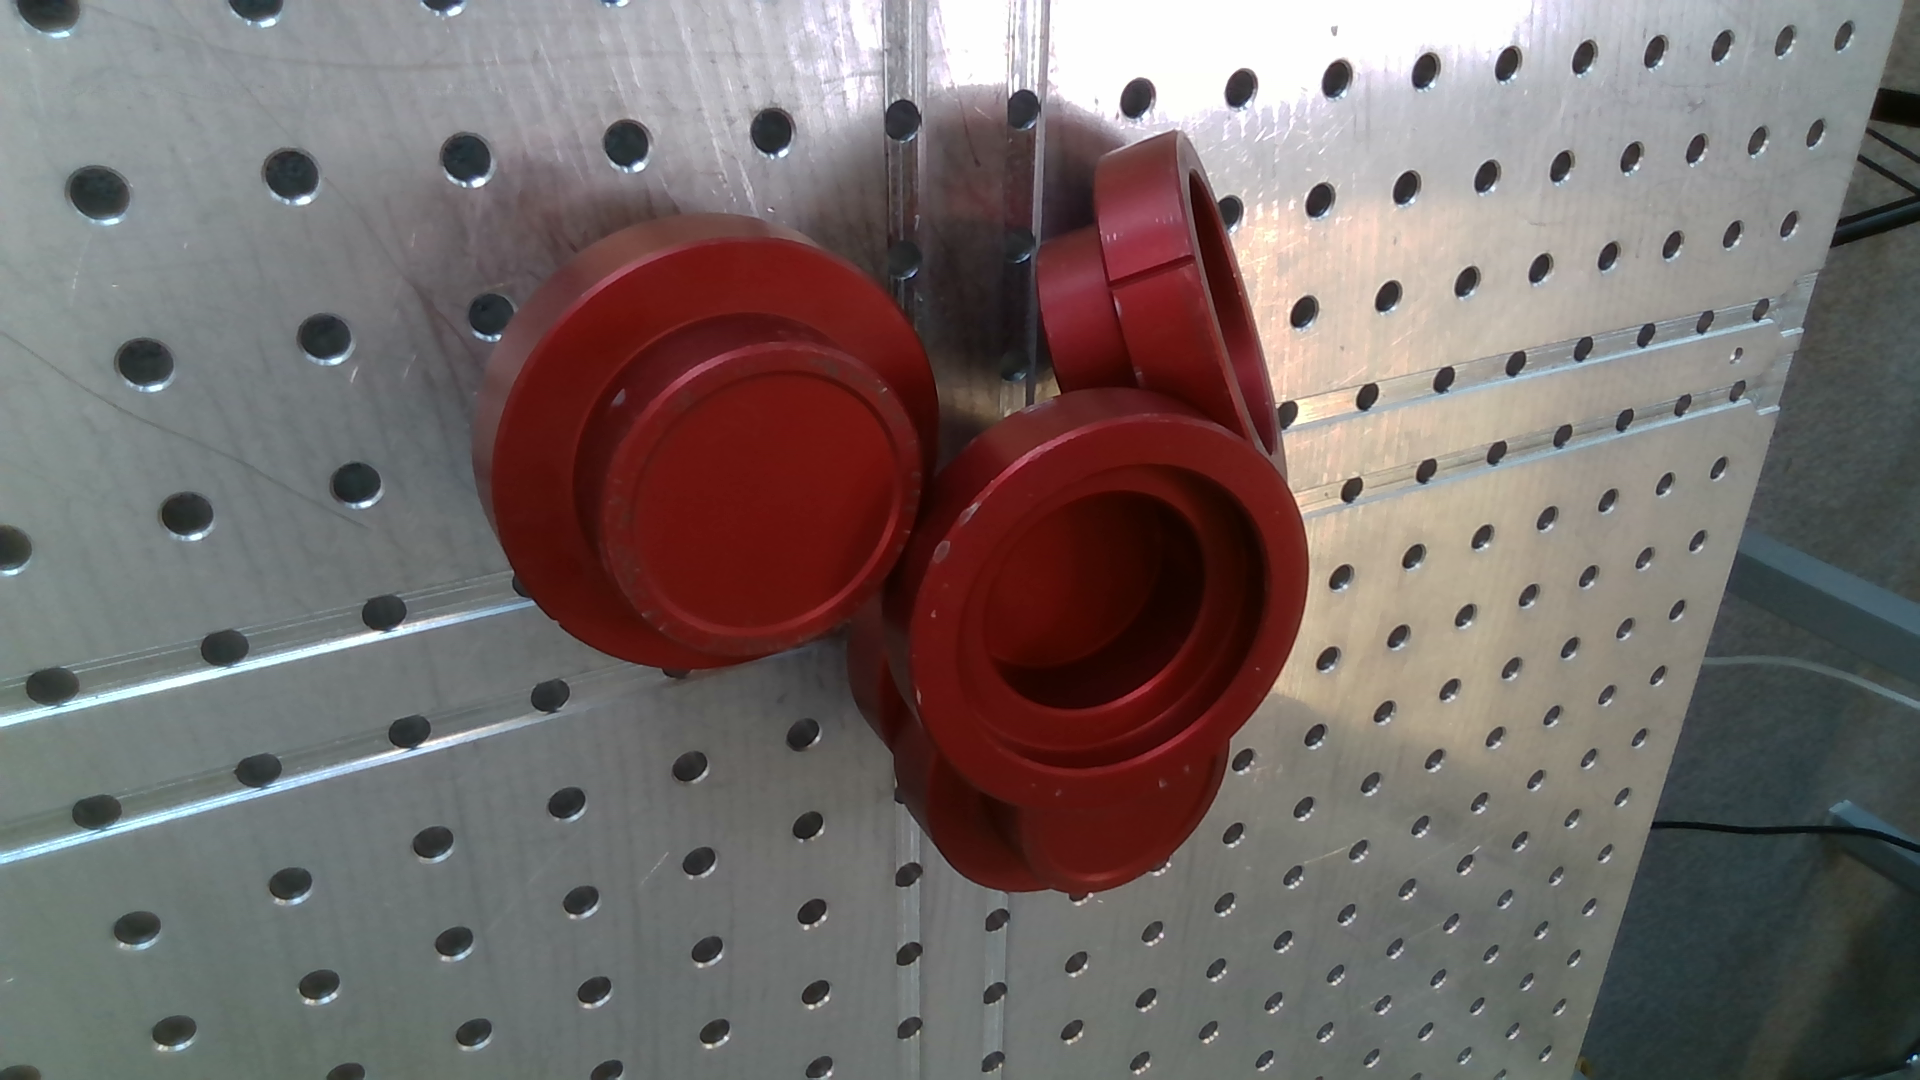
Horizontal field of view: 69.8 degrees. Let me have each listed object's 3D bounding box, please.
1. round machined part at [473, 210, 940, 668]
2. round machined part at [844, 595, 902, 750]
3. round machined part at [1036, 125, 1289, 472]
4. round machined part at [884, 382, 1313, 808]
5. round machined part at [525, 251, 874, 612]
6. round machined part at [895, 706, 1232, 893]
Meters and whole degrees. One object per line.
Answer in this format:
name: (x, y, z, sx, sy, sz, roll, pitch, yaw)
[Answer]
round machined part: (-0.047, -0.016, 0.289, 0.098, 0.042, 0.098, -14, 122, -25)
round machined part: (0.021, 0.029, 0.383, 0.098, 0.042, 0.098, -14, 122, -25)
round machined part: (0.052, -0.053, 0.360, 0.042, 0.098, 0.098, -16, 130, 19)
round machined part: (0.029, 0.010, 0.322, 0.098, 0.042, 0.098, -9, 117, -18)
round machined part: (-0.049, -0.020, 0.313, 0.098, 0.042, 0.098, -14, 122, -25)
round machined part: (0.035, 0.056, 0.378, 0.098, 0.042, 0.098, -15, 122, -25)
